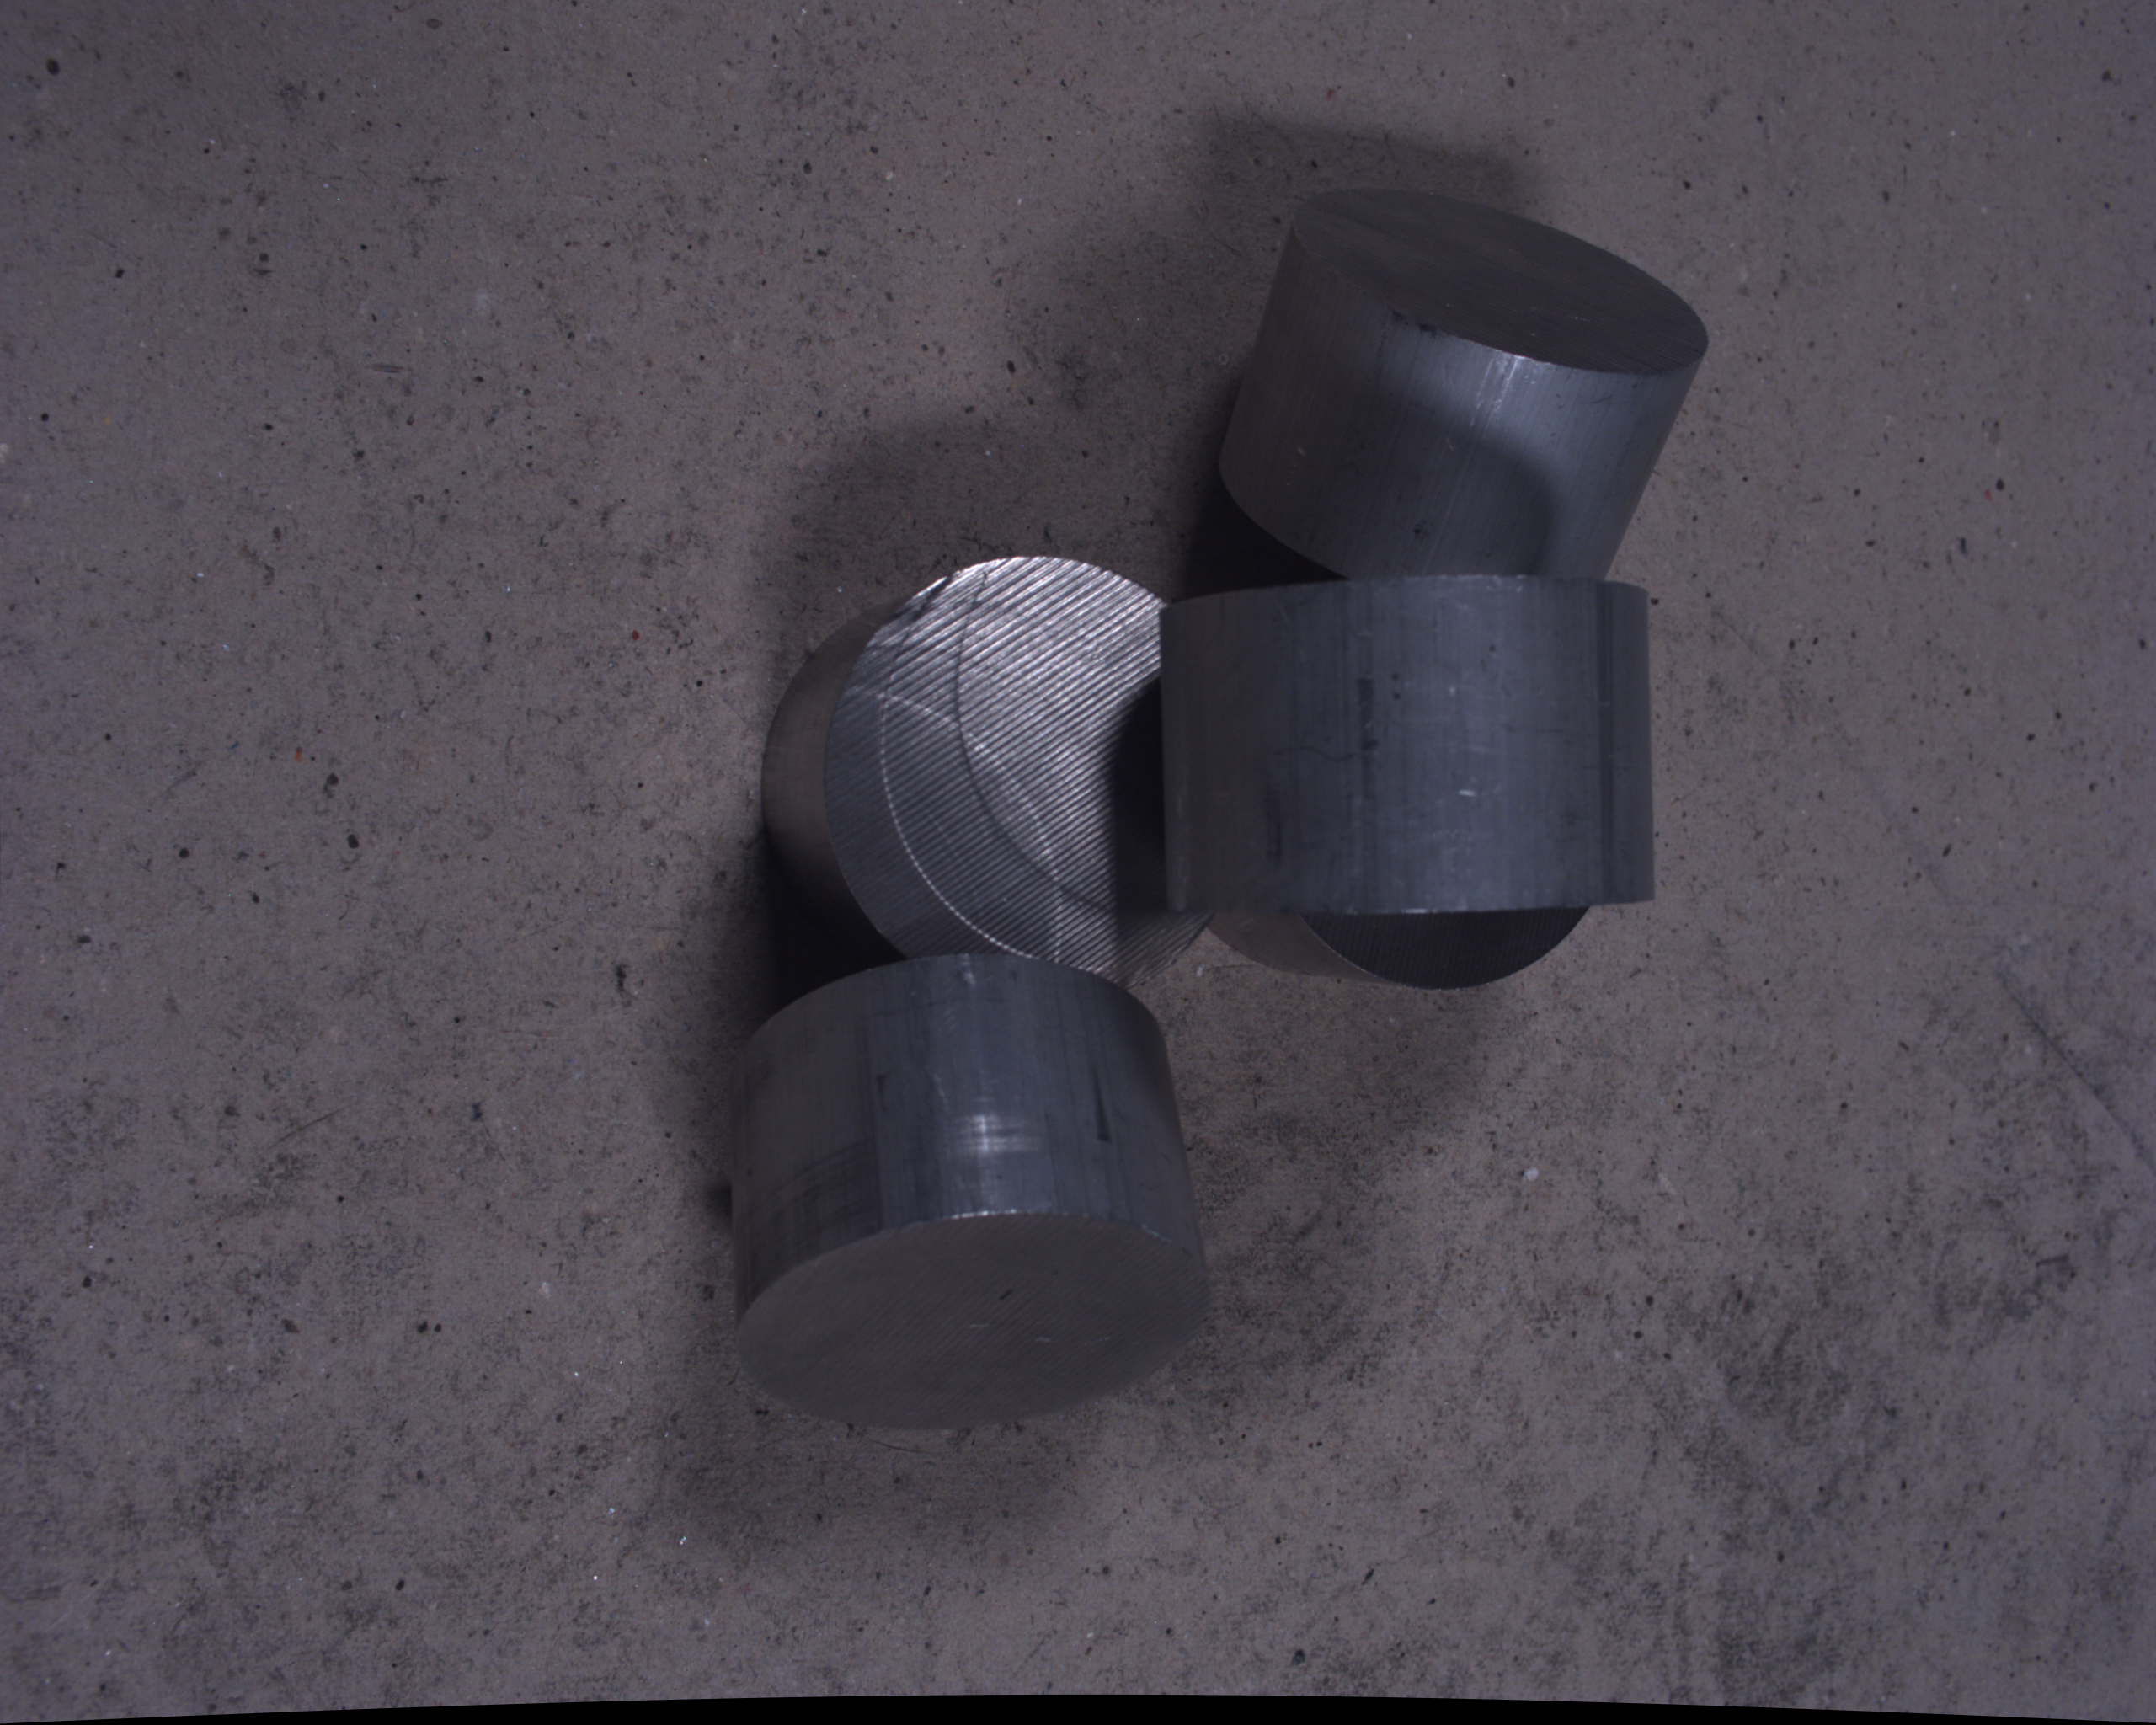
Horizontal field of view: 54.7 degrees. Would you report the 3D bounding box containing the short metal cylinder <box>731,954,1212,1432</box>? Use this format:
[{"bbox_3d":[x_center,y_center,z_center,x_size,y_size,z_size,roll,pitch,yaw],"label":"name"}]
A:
[{"bbox_3d":[-0.020,0.060,0.367,0.081,0.079,0.050,8,49,-20],"label":"short metal cylinder"}]

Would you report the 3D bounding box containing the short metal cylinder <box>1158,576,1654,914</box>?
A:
[{"bbox_3d":[0.054,-0.018,0.349,0.081,0.080,0.050,-2,91,-20],"label":"short metal cylinder"}]

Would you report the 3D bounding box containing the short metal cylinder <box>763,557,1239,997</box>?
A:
[{"bbox_3d":[-0.014,-0.014,0.392,0.081,0.050,0.079,0,90,-21],"label":"short metal cylinder"}]

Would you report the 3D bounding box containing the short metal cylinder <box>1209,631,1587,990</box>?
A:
[{"bbox_3d":[0.062,-0.016,0.420,0.081,0.050,0.079,0,90,-21],"label":"short metal cylinder"}]

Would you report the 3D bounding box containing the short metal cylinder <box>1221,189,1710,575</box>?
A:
[{"bbox_3d":[0.073,-0.090,0.402,0.081,0.080,0.050,1,128,-20],"label":"short metal cylinder"}]
